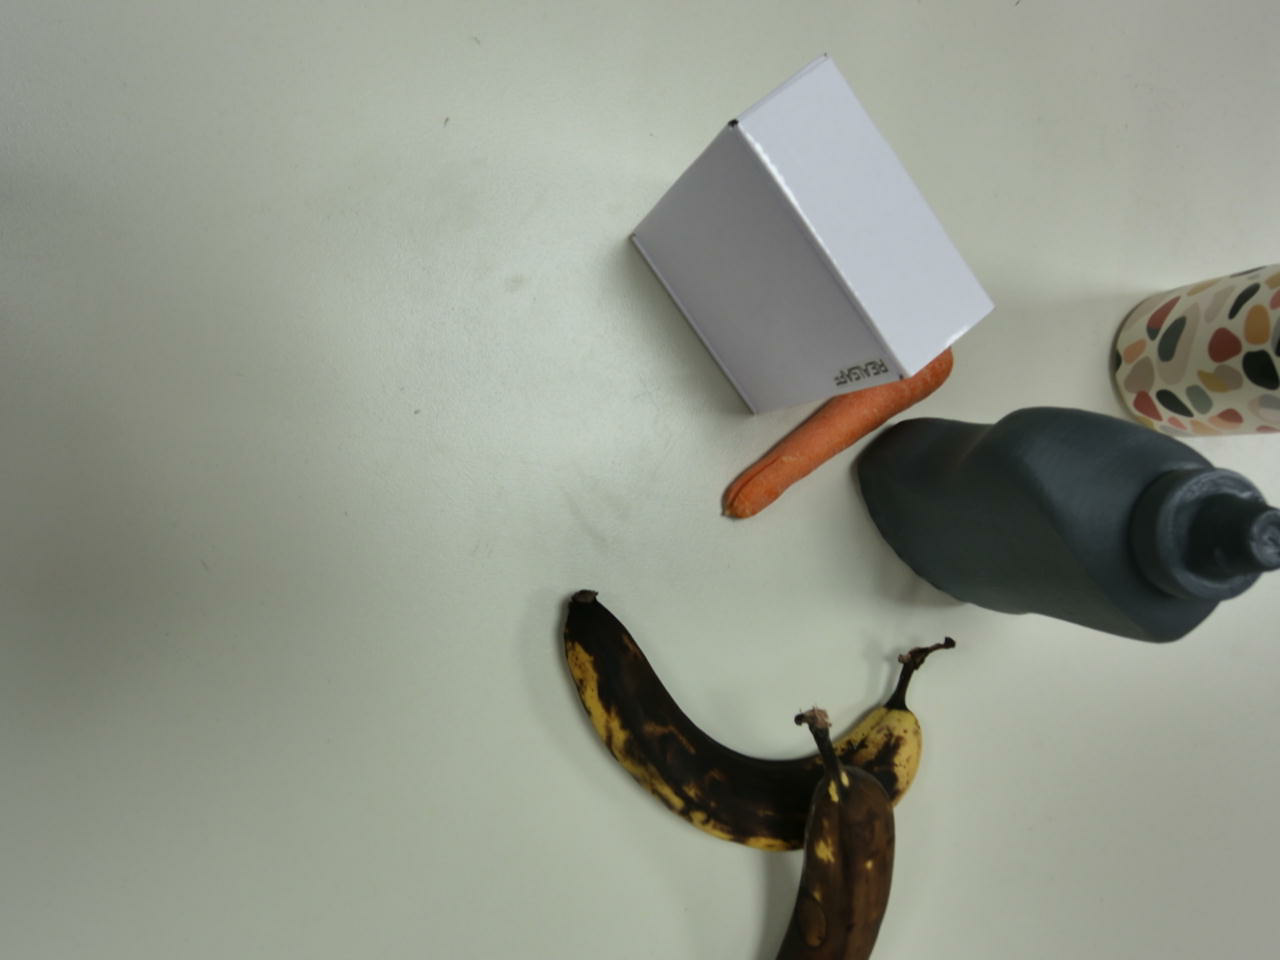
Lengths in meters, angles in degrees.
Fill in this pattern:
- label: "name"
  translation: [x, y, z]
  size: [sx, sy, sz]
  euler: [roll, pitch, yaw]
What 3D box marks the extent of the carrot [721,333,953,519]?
- label: "carrot"
  translation: [0.092, -0.026, 0.468]
  size: [0.136, 0.032, 0.030]
  euler: [-36, 98, -10]
